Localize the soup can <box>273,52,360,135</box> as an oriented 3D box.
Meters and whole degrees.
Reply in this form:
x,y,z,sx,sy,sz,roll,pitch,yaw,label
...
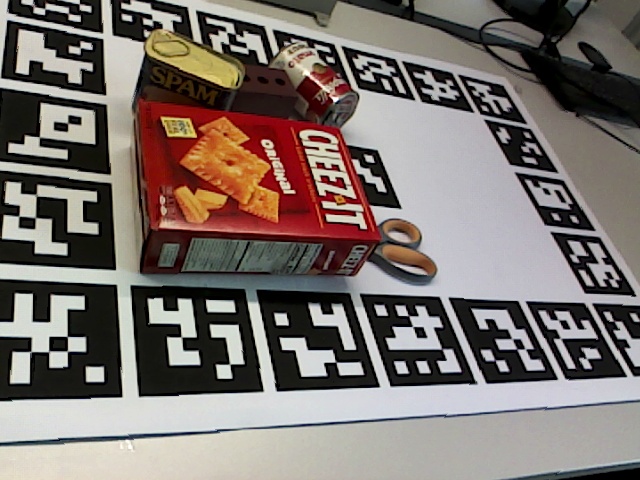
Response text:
x,y,z,sx,sy,sz,roll,pitch,yaw,label
-0.009,-0.183,0.789,0.102,0.068,0.067,40,44,14,soup can

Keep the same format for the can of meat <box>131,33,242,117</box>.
x,y,z,sx,sy,sz,roll,pitch,yaw,label
-0.146,-0.159,0.664,0.101,0.084,0.058,16,47,-18,can of meat

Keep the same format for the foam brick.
x,y,z,sx,sy,sz,roll,pitch,yaw,label
-0.076,-0.167,0.738,0.077,0.051,0.053,-5,57,-33,foam brick

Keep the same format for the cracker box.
x,y,z,sx,sy,sz,roll,pitch,yaw,label
-0.066,-0.047,0.603,0.212,0.072,0.165,-2,54,-27,cracker box

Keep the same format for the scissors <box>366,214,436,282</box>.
x,y,z,sx,sy,sz,roll,pitch,yaw,label
0.032,0.008,0.656,0.201,0.016,0.088,0,54,-30,scissors
